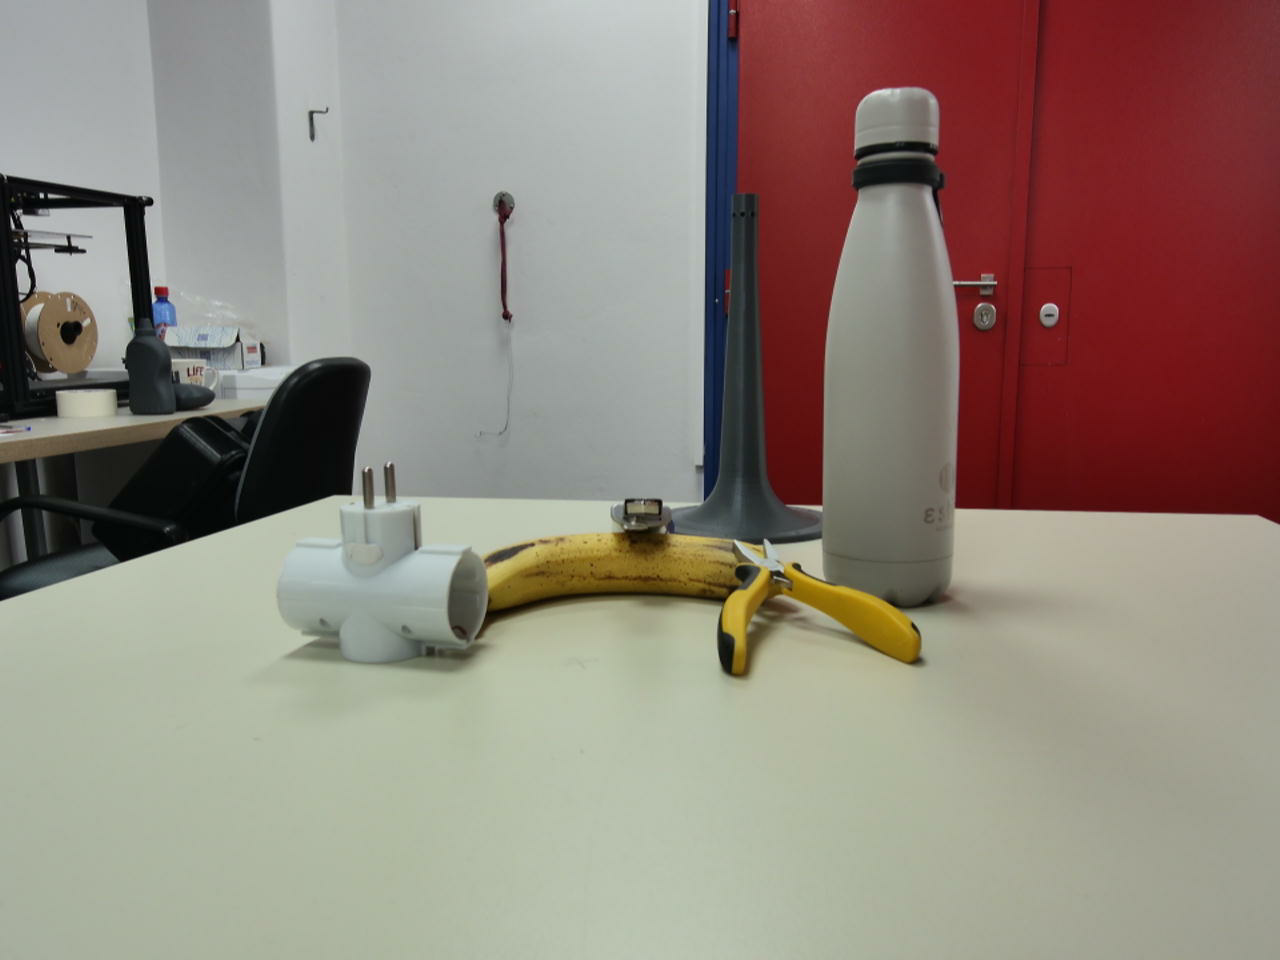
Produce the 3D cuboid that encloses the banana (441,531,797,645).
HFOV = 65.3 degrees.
[{"bbox_3d":[-0.017,0.053,0.553,0.186,0.038,0.097,-2,6,-16],"label":"banana"}]
